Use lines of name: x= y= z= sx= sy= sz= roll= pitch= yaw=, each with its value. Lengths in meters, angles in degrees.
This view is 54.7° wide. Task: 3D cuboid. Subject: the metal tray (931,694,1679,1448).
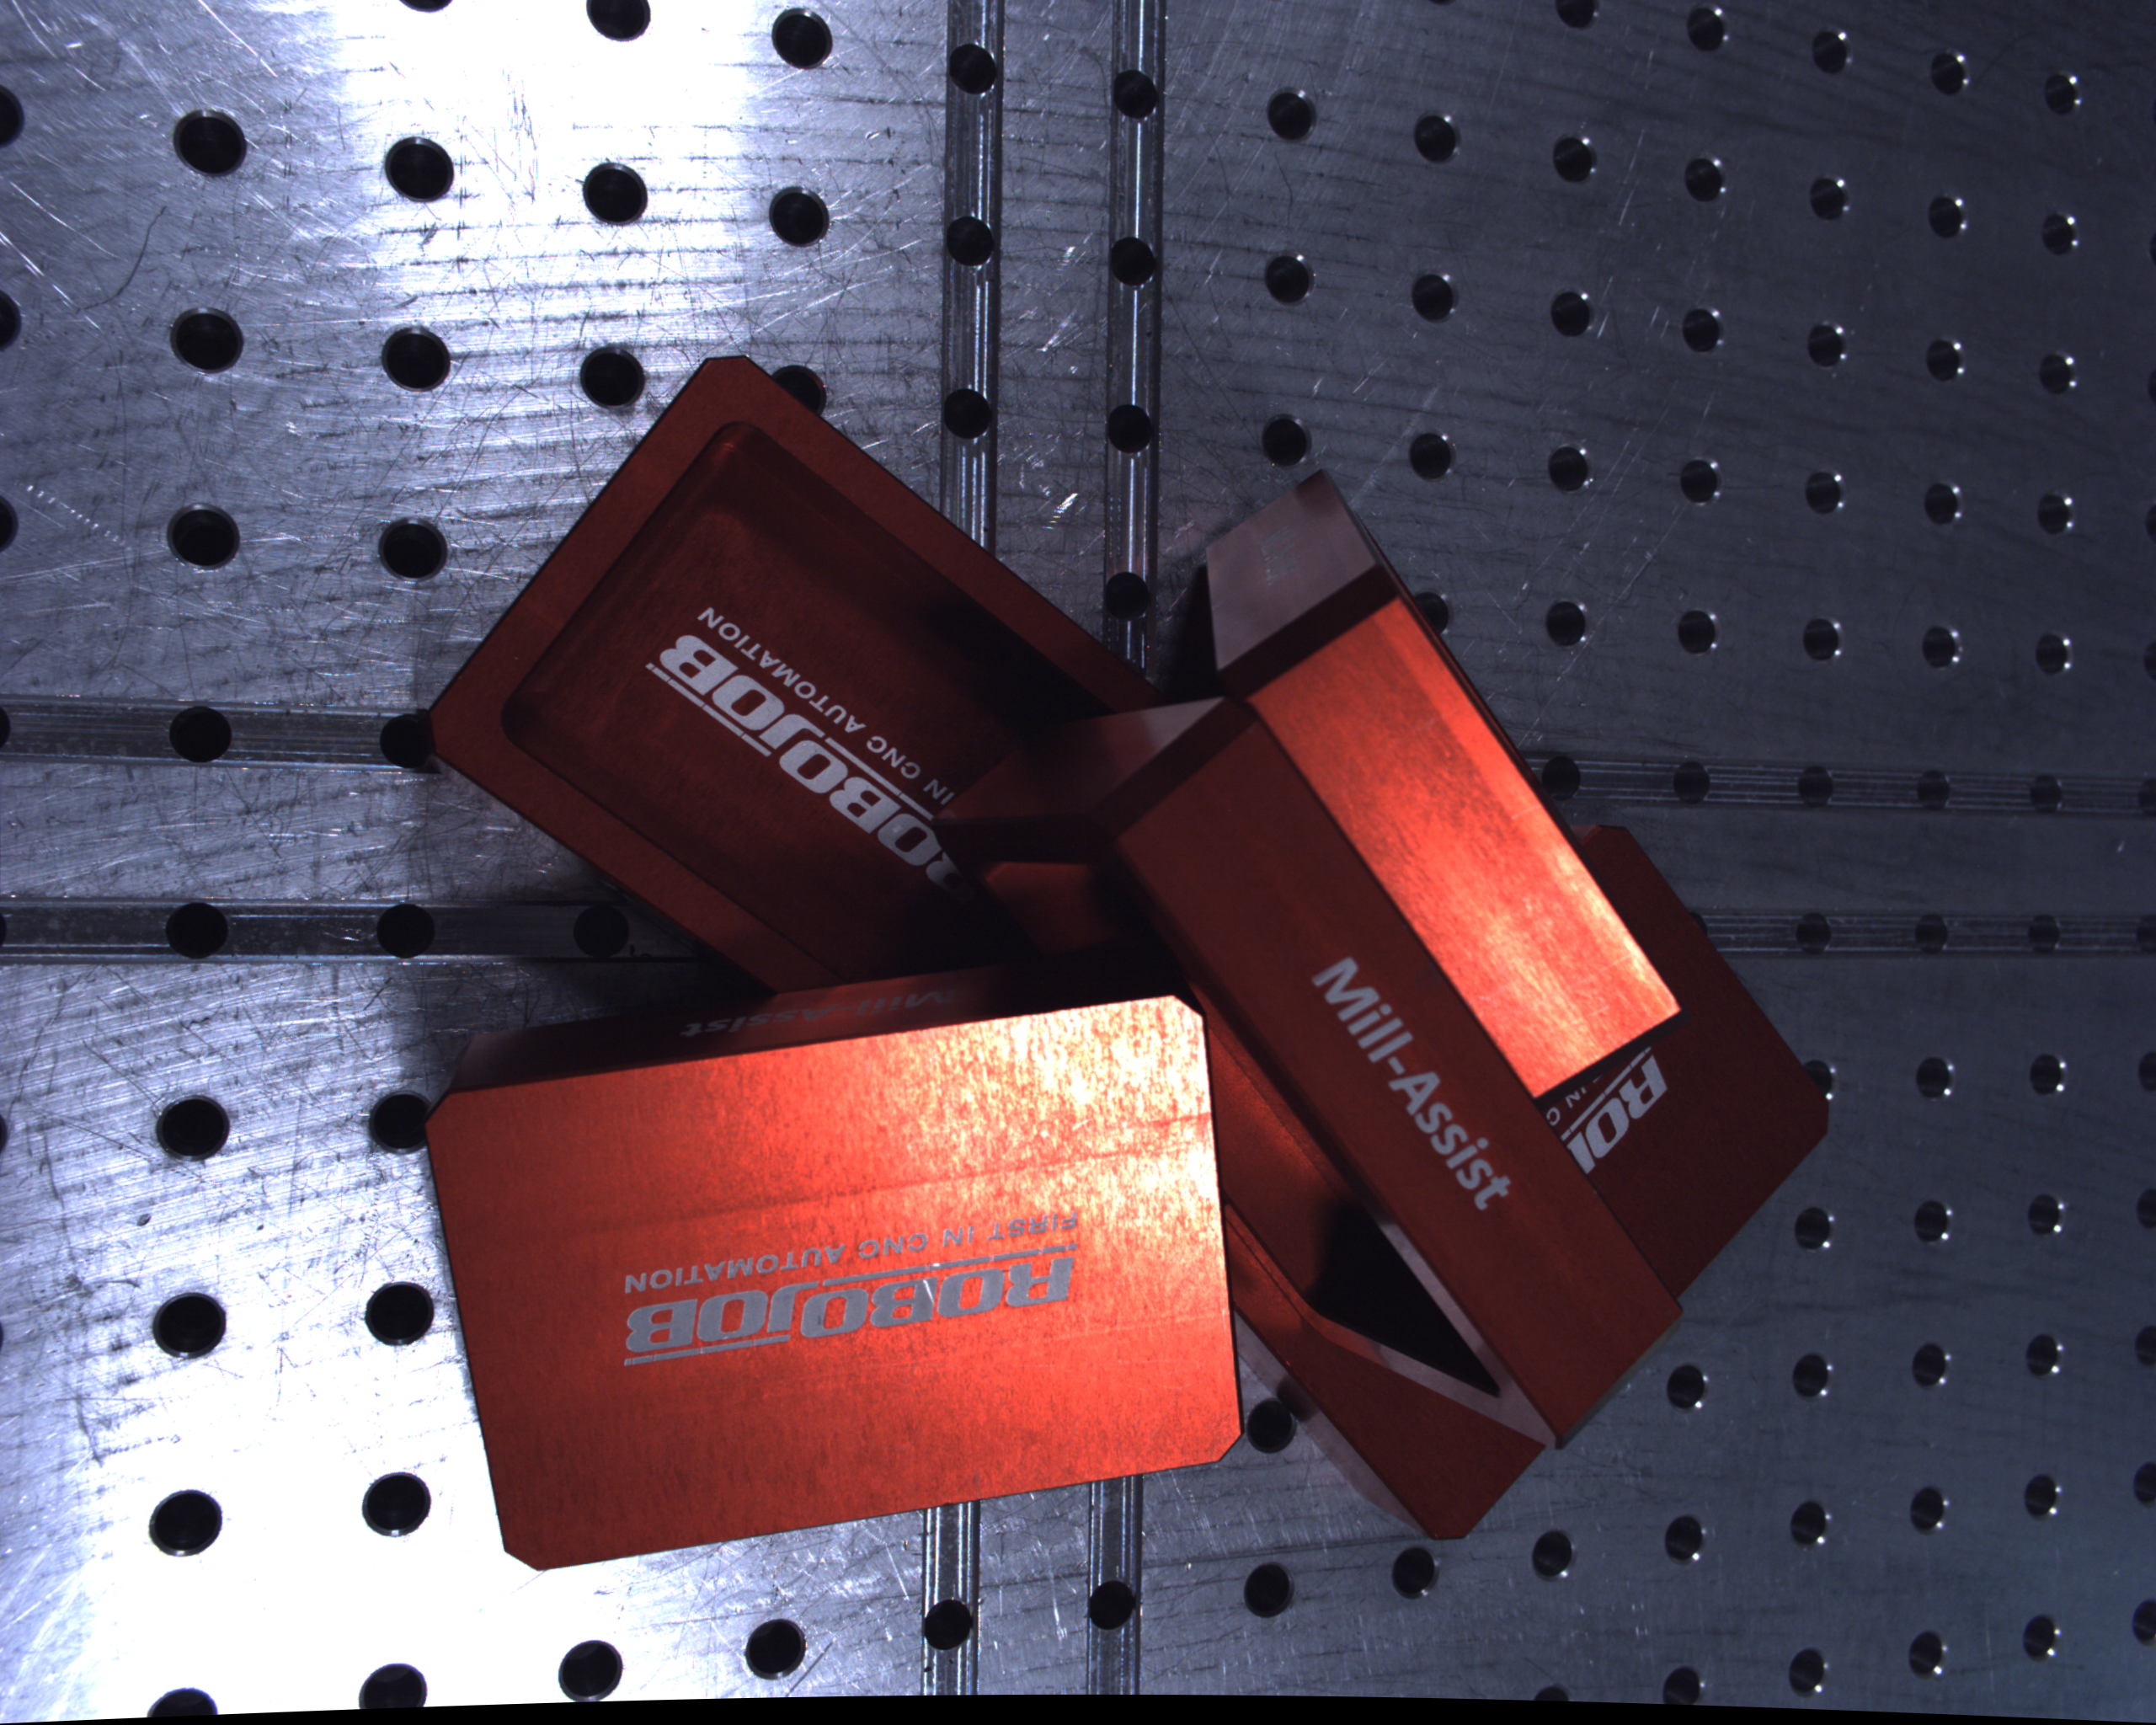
metal tray: x=0.035 y=0.034 z=0.360 sx=0.030 sy=0.090 sz=0.130 roll=-40 pitch=103 yaw=-16

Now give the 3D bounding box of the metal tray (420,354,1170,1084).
metal tray: x=-0.044 y=-0.020 z=0.394 sx=0.130 sy=0.030 sz=0.090 roll=38 pitch=78 yaw=-17

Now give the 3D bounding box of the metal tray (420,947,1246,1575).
metal tray: x=-0.040 y=0.069 z=0.370 sx=0.131 sy=0.030 sz=0.089 roll=-7 pitch=104 yaw=-6

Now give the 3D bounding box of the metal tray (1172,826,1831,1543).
metal tray: x=0.089 y=0.065 z=0.443 sx=0.130 sy=0.030 sz=0.090 roll=-43 pitch=104 yaw=-15

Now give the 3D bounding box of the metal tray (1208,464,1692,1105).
metal tray: x=0.062 y=-0.021 z=0.381 sx=0.030 sy=0.130 sz=0.090 roll=-34 pitch=103 yaw=12
